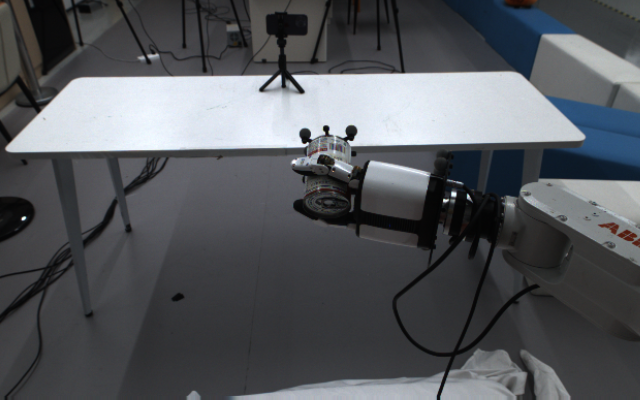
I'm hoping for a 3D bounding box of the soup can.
[{"bbox_3d":[0.012,-0.034,0.688,0.067,0.067,0.101,3,56,1],"label":"soup can"}]
